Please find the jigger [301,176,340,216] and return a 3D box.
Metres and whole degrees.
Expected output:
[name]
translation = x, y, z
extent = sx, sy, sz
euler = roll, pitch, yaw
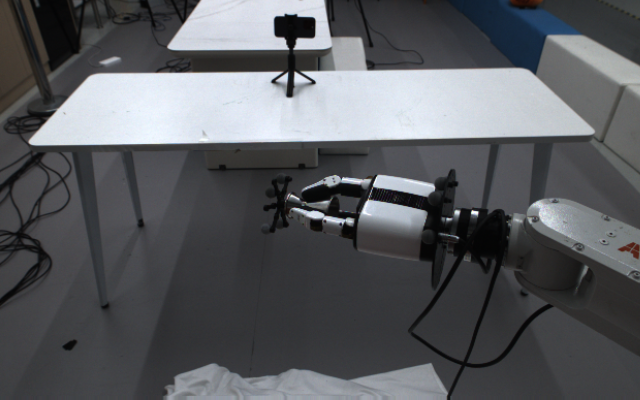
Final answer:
[jigger]
translation = -0.006, 0.009, 0.688
extent = 0.071, 0.043, 0.043
euler = 8, 34, 23
